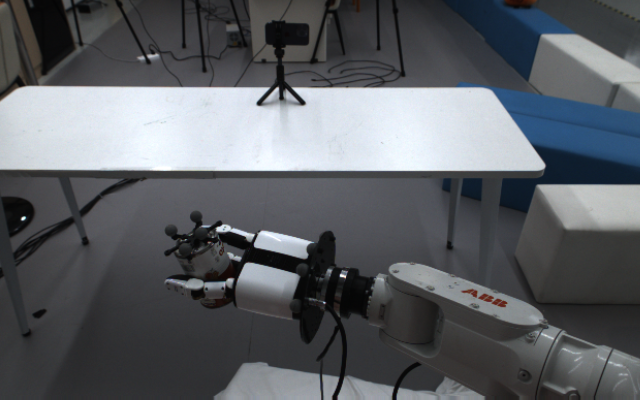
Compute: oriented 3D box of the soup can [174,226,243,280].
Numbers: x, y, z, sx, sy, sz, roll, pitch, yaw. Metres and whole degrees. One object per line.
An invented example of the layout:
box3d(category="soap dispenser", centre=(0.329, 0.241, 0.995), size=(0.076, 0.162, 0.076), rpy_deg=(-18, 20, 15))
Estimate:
box3d(category="soup can", centre=(-0.161, 0.101, 0.707), size=(0.067, 0.101, 0.067), rpy_deg=(-14, 31, 8))
